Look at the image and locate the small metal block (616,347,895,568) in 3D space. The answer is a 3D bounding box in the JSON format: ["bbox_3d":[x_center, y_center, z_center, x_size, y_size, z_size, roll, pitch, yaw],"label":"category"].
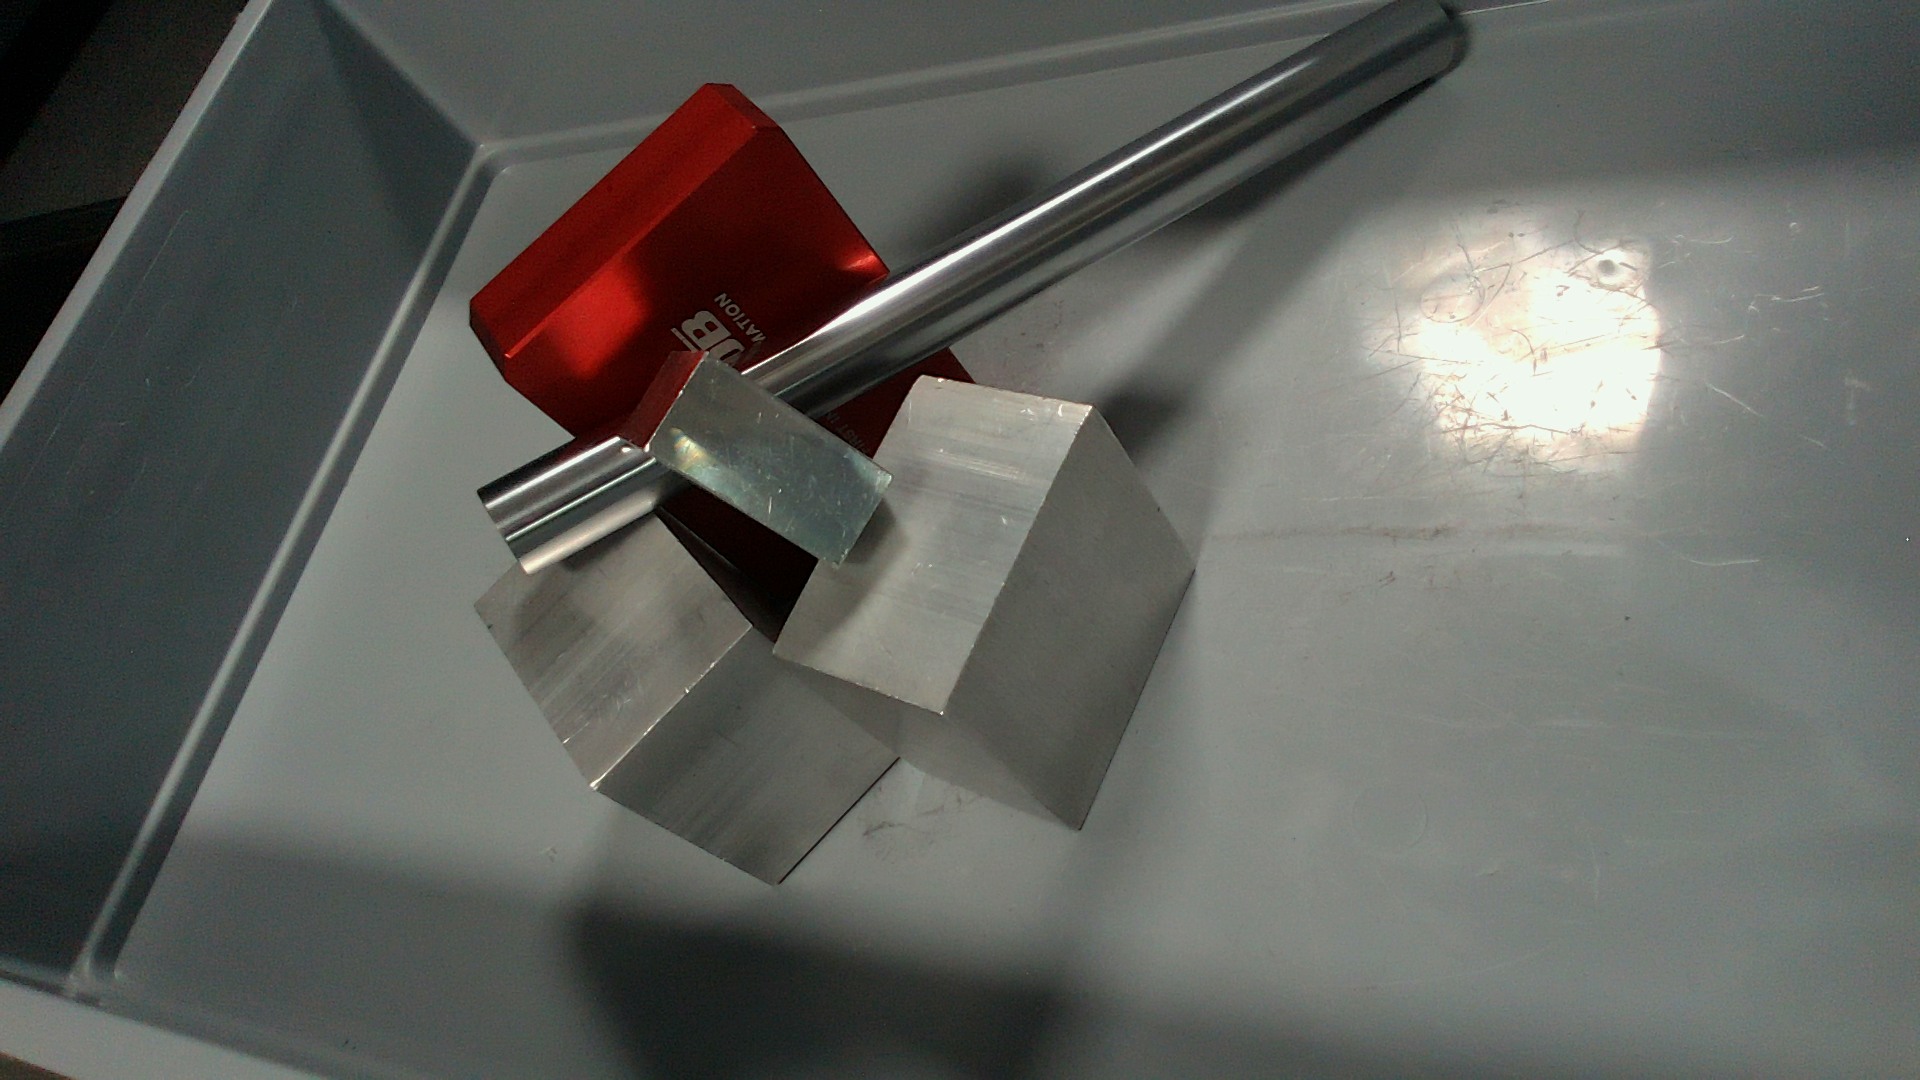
[{"bbox_3d":[-0.049,-0.020,0.319,0.025,0.050,0.050,-59,21,-4],"label":"small metal block"}]

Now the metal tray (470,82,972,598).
[{"bbox_3d":[-0.057,-0.049,0.385,0.090,0.130,0.030,-43,50,0],"label":"metal tray"}]

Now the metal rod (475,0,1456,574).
[{"bbox_3d":[0.013,-0.077,0.375,0.300,0.025,0.025,-31,49,-13],"label":"metal rod"}]

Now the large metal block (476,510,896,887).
[{"bbox_3d":[-0.072,0.038,0.375,0.050,0.080,0.080,-45,51,-3],"label":"large metal block"}]

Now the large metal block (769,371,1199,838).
[{"bbox_3d":[0.010,0.017,0.342,0.050,0.080,0.080,14,69,34],"label":"large metal block"}]
